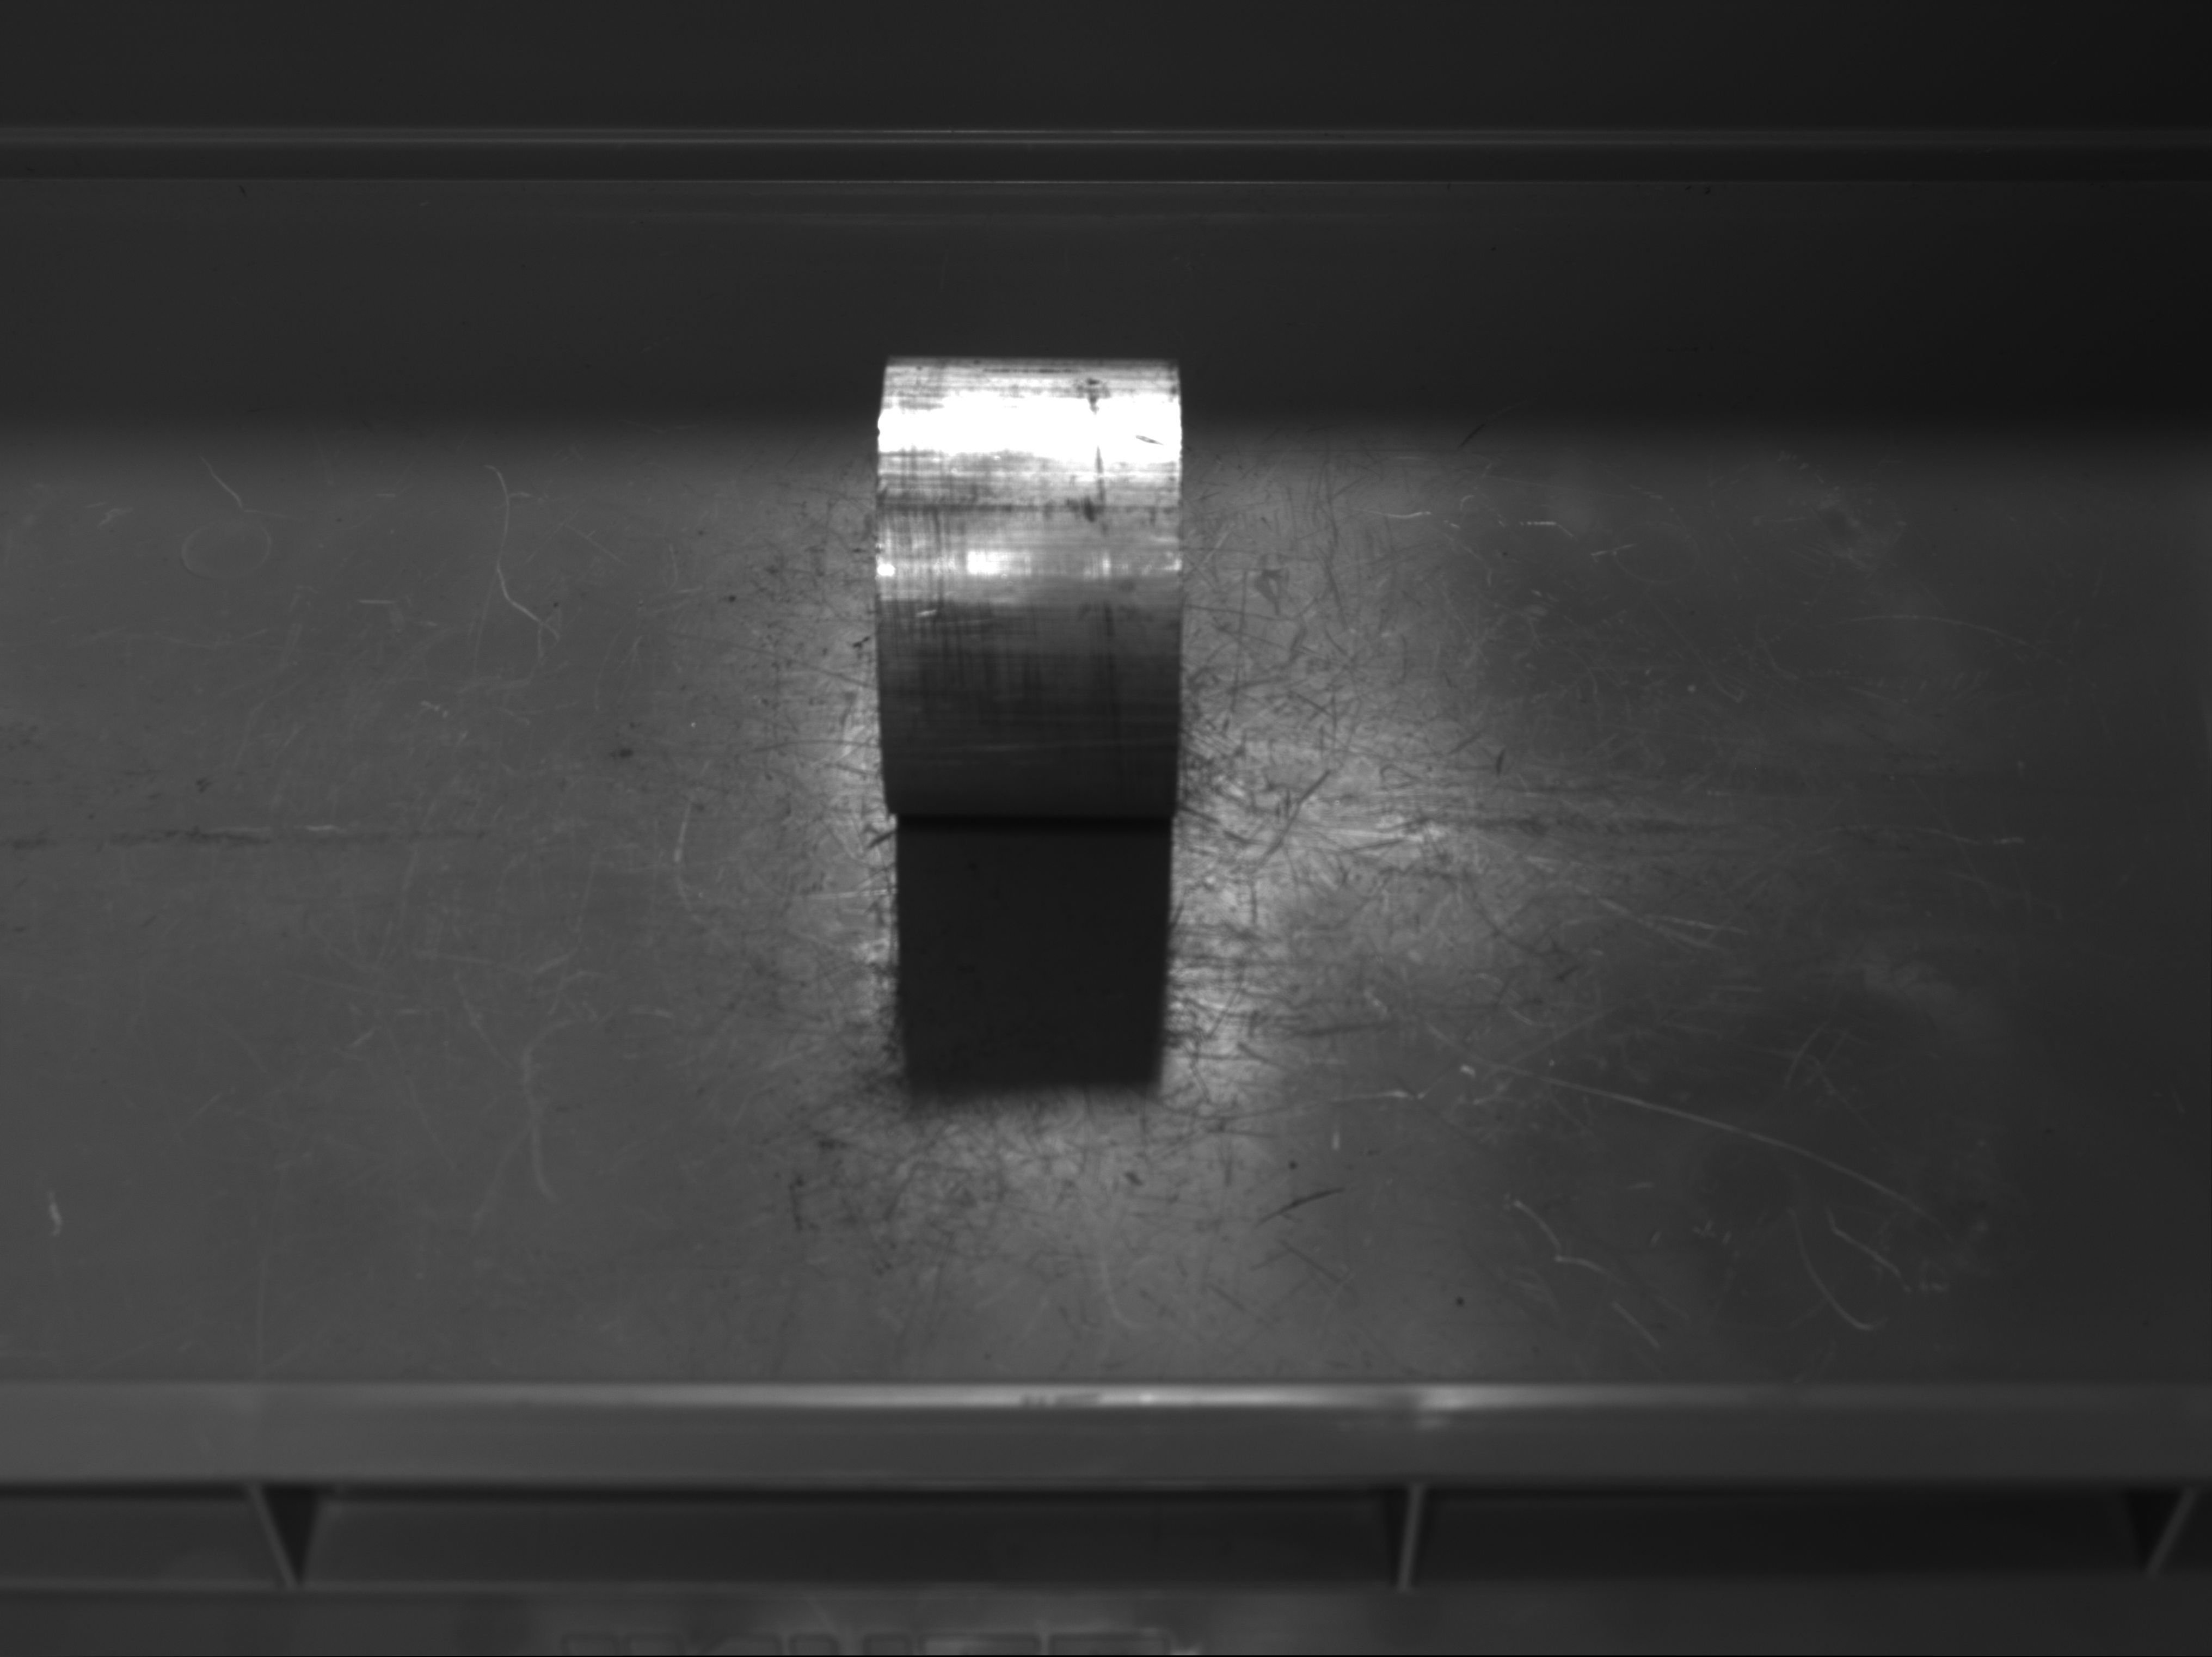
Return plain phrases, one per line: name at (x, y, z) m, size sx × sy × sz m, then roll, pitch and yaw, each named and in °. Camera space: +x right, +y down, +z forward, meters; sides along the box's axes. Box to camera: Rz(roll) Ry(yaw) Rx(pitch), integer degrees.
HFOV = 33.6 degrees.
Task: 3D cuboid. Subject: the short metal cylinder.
short metal cylinder at (-0.010, -0.042, 0.639) m, size 0.050 × 0.080 × 0.080 m, roll 0°, pitch 50°, yaw 0°
